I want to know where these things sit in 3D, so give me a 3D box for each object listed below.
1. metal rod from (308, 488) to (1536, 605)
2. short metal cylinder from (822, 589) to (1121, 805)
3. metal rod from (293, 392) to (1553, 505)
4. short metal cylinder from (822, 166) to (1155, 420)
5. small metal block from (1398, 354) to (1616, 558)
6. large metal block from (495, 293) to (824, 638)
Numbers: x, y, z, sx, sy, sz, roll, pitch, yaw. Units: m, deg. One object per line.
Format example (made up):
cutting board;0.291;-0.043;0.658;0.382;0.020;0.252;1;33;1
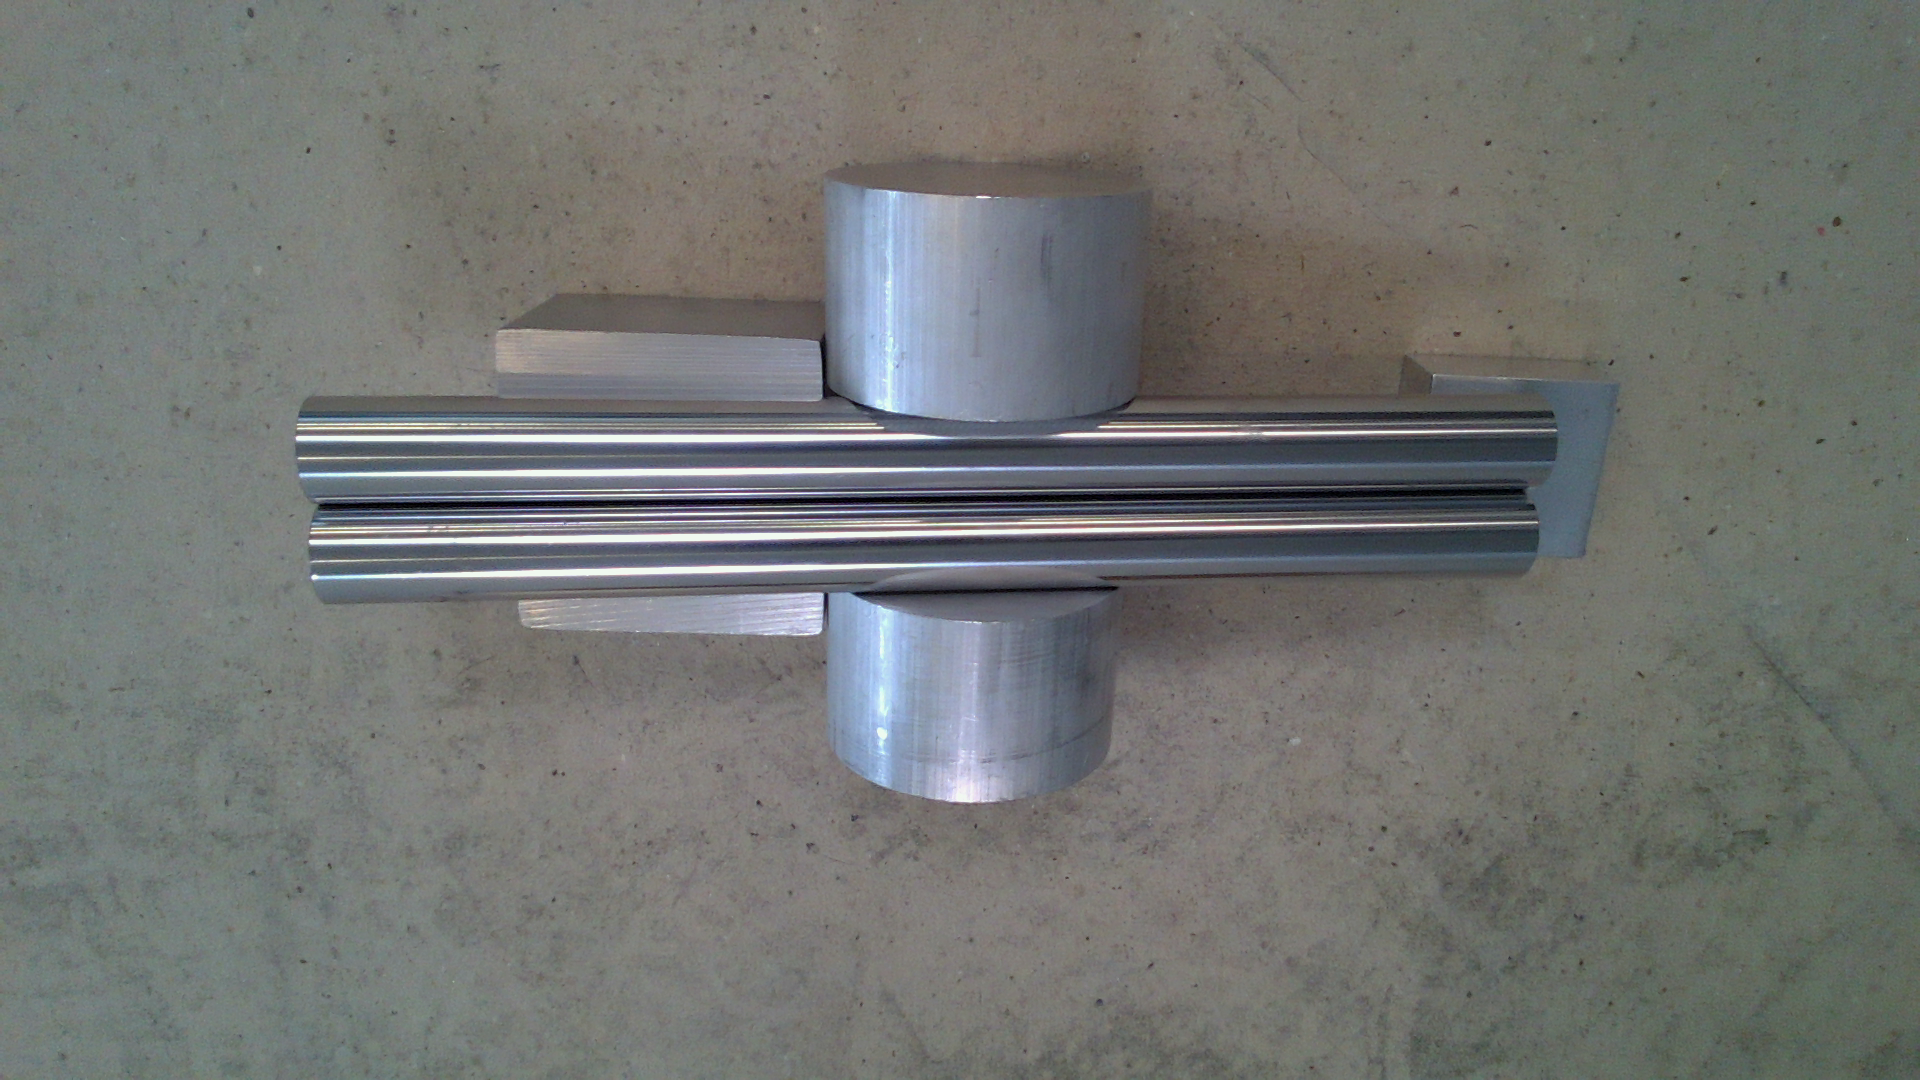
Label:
metal rod;-0.001;0.000;0.346;0.300;0.025;0.025;-1;110;-8
short metal cylinder;0.003;0.030;0.376;0.080;0.080;0.050;1;110;-1
metal rod;-0.001;-0.023;0.338;0.300;0.025;0.025;-1;110;-8
short metal cylinder;0.006;-0.064;0.341;0.080;0.080;0.050;1;110;-1
small metal block;0.149;-0.024;0.386;0.050;0.025;0.050;3;110;-1
large metal block;-0.074;-0.021;0.373;0.080;0.050;0.080;2;110;-1
